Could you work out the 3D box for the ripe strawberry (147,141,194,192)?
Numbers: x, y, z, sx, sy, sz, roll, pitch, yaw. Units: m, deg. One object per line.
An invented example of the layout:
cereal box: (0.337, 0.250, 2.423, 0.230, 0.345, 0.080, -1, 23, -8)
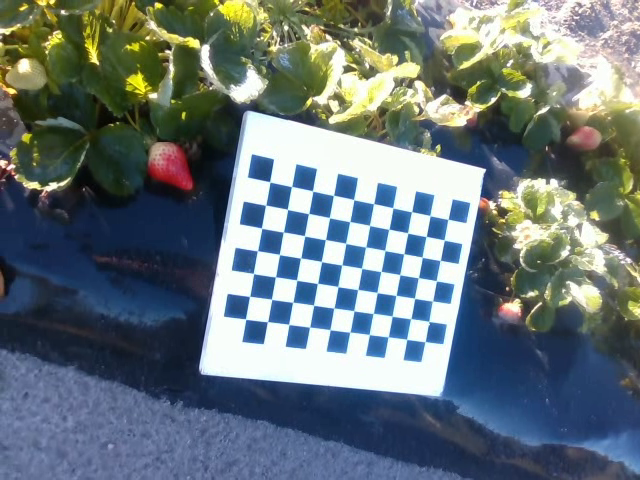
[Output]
ripe strawberry: (-0.159, -0.074, 0.629, 0.040, 0.065, 0.040, -41, 16, -15)
